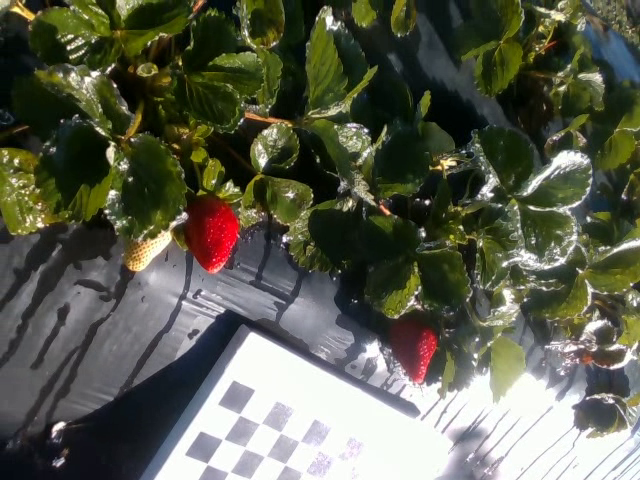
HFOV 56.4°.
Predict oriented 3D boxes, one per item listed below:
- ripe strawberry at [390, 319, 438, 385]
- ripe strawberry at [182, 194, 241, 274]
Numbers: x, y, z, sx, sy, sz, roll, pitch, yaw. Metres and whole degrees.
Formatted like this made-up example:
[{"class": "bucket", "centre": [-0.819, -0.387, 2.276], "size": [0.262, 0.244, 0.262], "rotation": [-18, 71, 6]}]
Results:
[{"class": "ripe strawberry", "centre": [0.089, 0.105, 0.542], "size": [0.048, 0.061, 0.044], "rotation": [27, -31, -32]}, {"class": "ripe strawberry", "centre": [-0.081, 0.002, 0.427], "size": [0.042, 0.061, 0.046], "rotation": [19, -36, -31]}]
